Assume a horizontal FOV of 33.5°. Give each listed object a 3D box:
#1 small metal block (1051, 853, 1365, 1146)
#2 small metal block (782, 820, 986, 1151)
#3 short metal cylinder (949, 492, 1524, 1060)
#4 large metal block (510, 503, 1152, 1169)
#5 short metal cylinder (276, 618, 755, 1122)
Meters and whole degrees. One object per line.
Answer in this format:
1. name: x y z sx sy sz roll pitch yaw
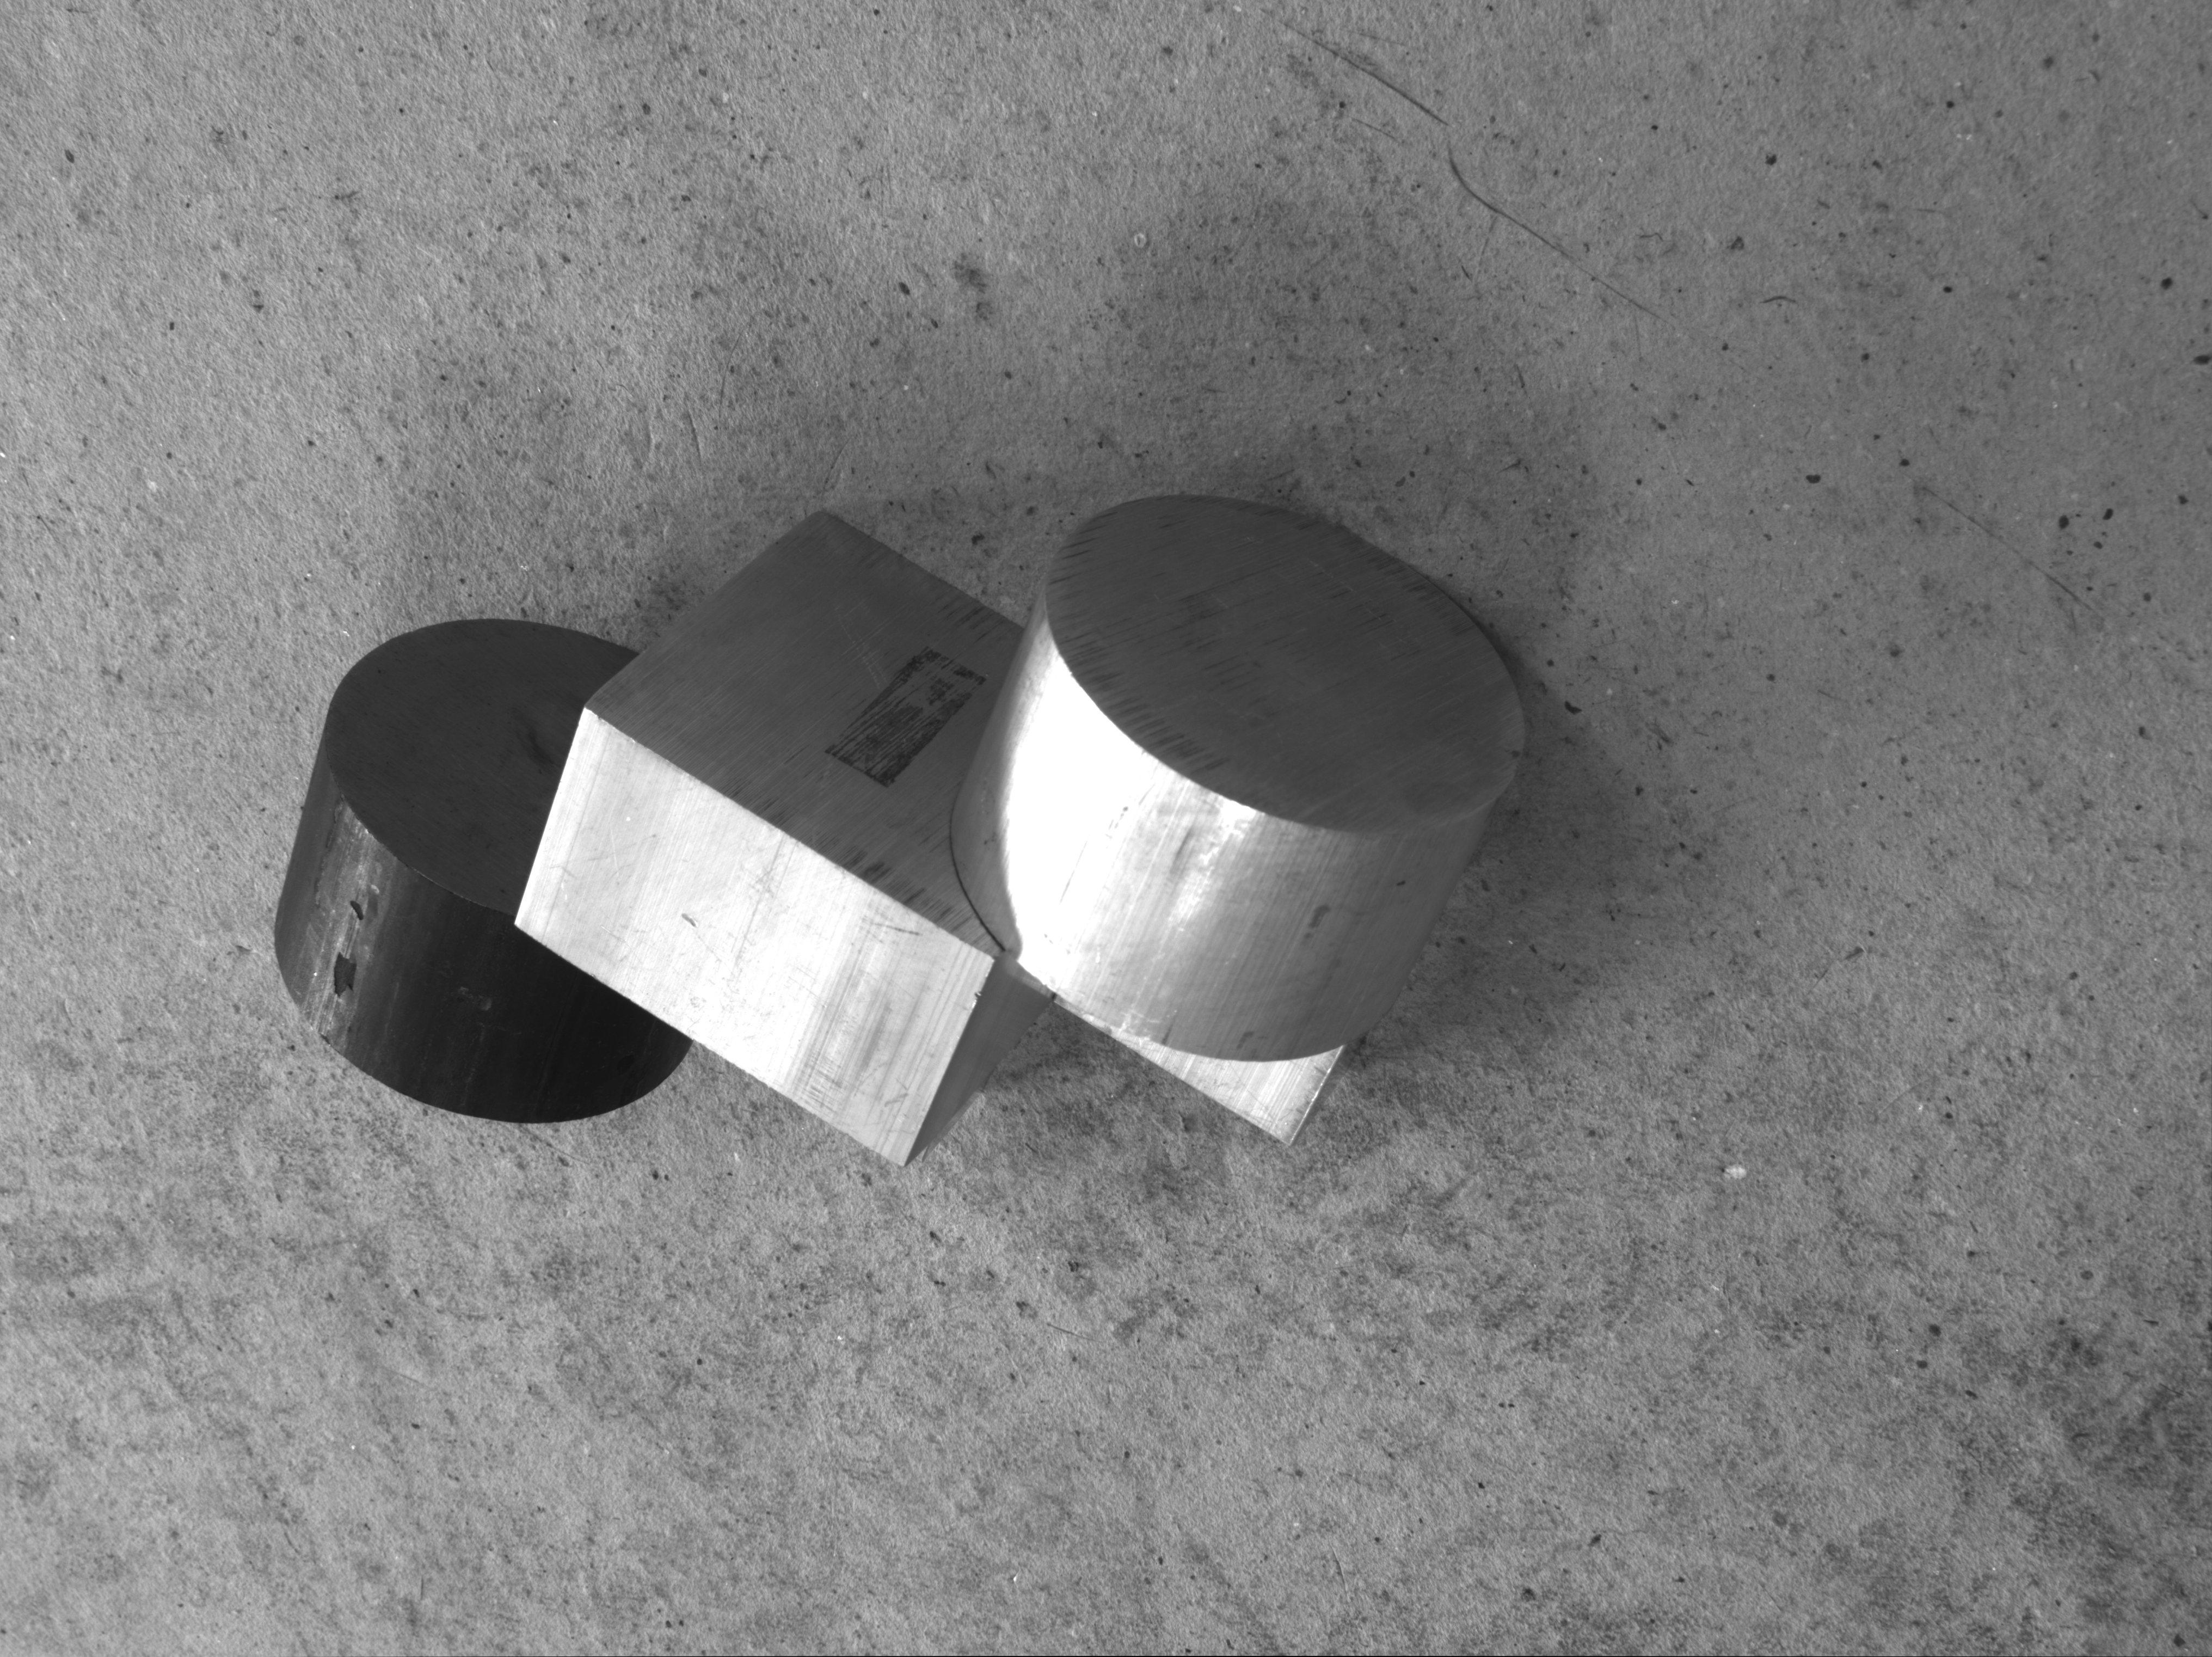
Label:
1. small metal block: 0.025 0.019 0.642 0.050 0.025 0.050 31 128 9
2. small metal block: -0.042 0.025 0.682 0.050 0.025 0.050 31 128 9
3. short metal cylinder: 0.020 -0.009 0.591 0.080 0.080 0.050 31 128 8
4. large metal block: -0.042 -0.001 0.631 0.080 0.080 0.050 31 128 8
5. short metal cylinder: -0.106 0.007 0.669 0.080 0.080 0.050 31 128 9
